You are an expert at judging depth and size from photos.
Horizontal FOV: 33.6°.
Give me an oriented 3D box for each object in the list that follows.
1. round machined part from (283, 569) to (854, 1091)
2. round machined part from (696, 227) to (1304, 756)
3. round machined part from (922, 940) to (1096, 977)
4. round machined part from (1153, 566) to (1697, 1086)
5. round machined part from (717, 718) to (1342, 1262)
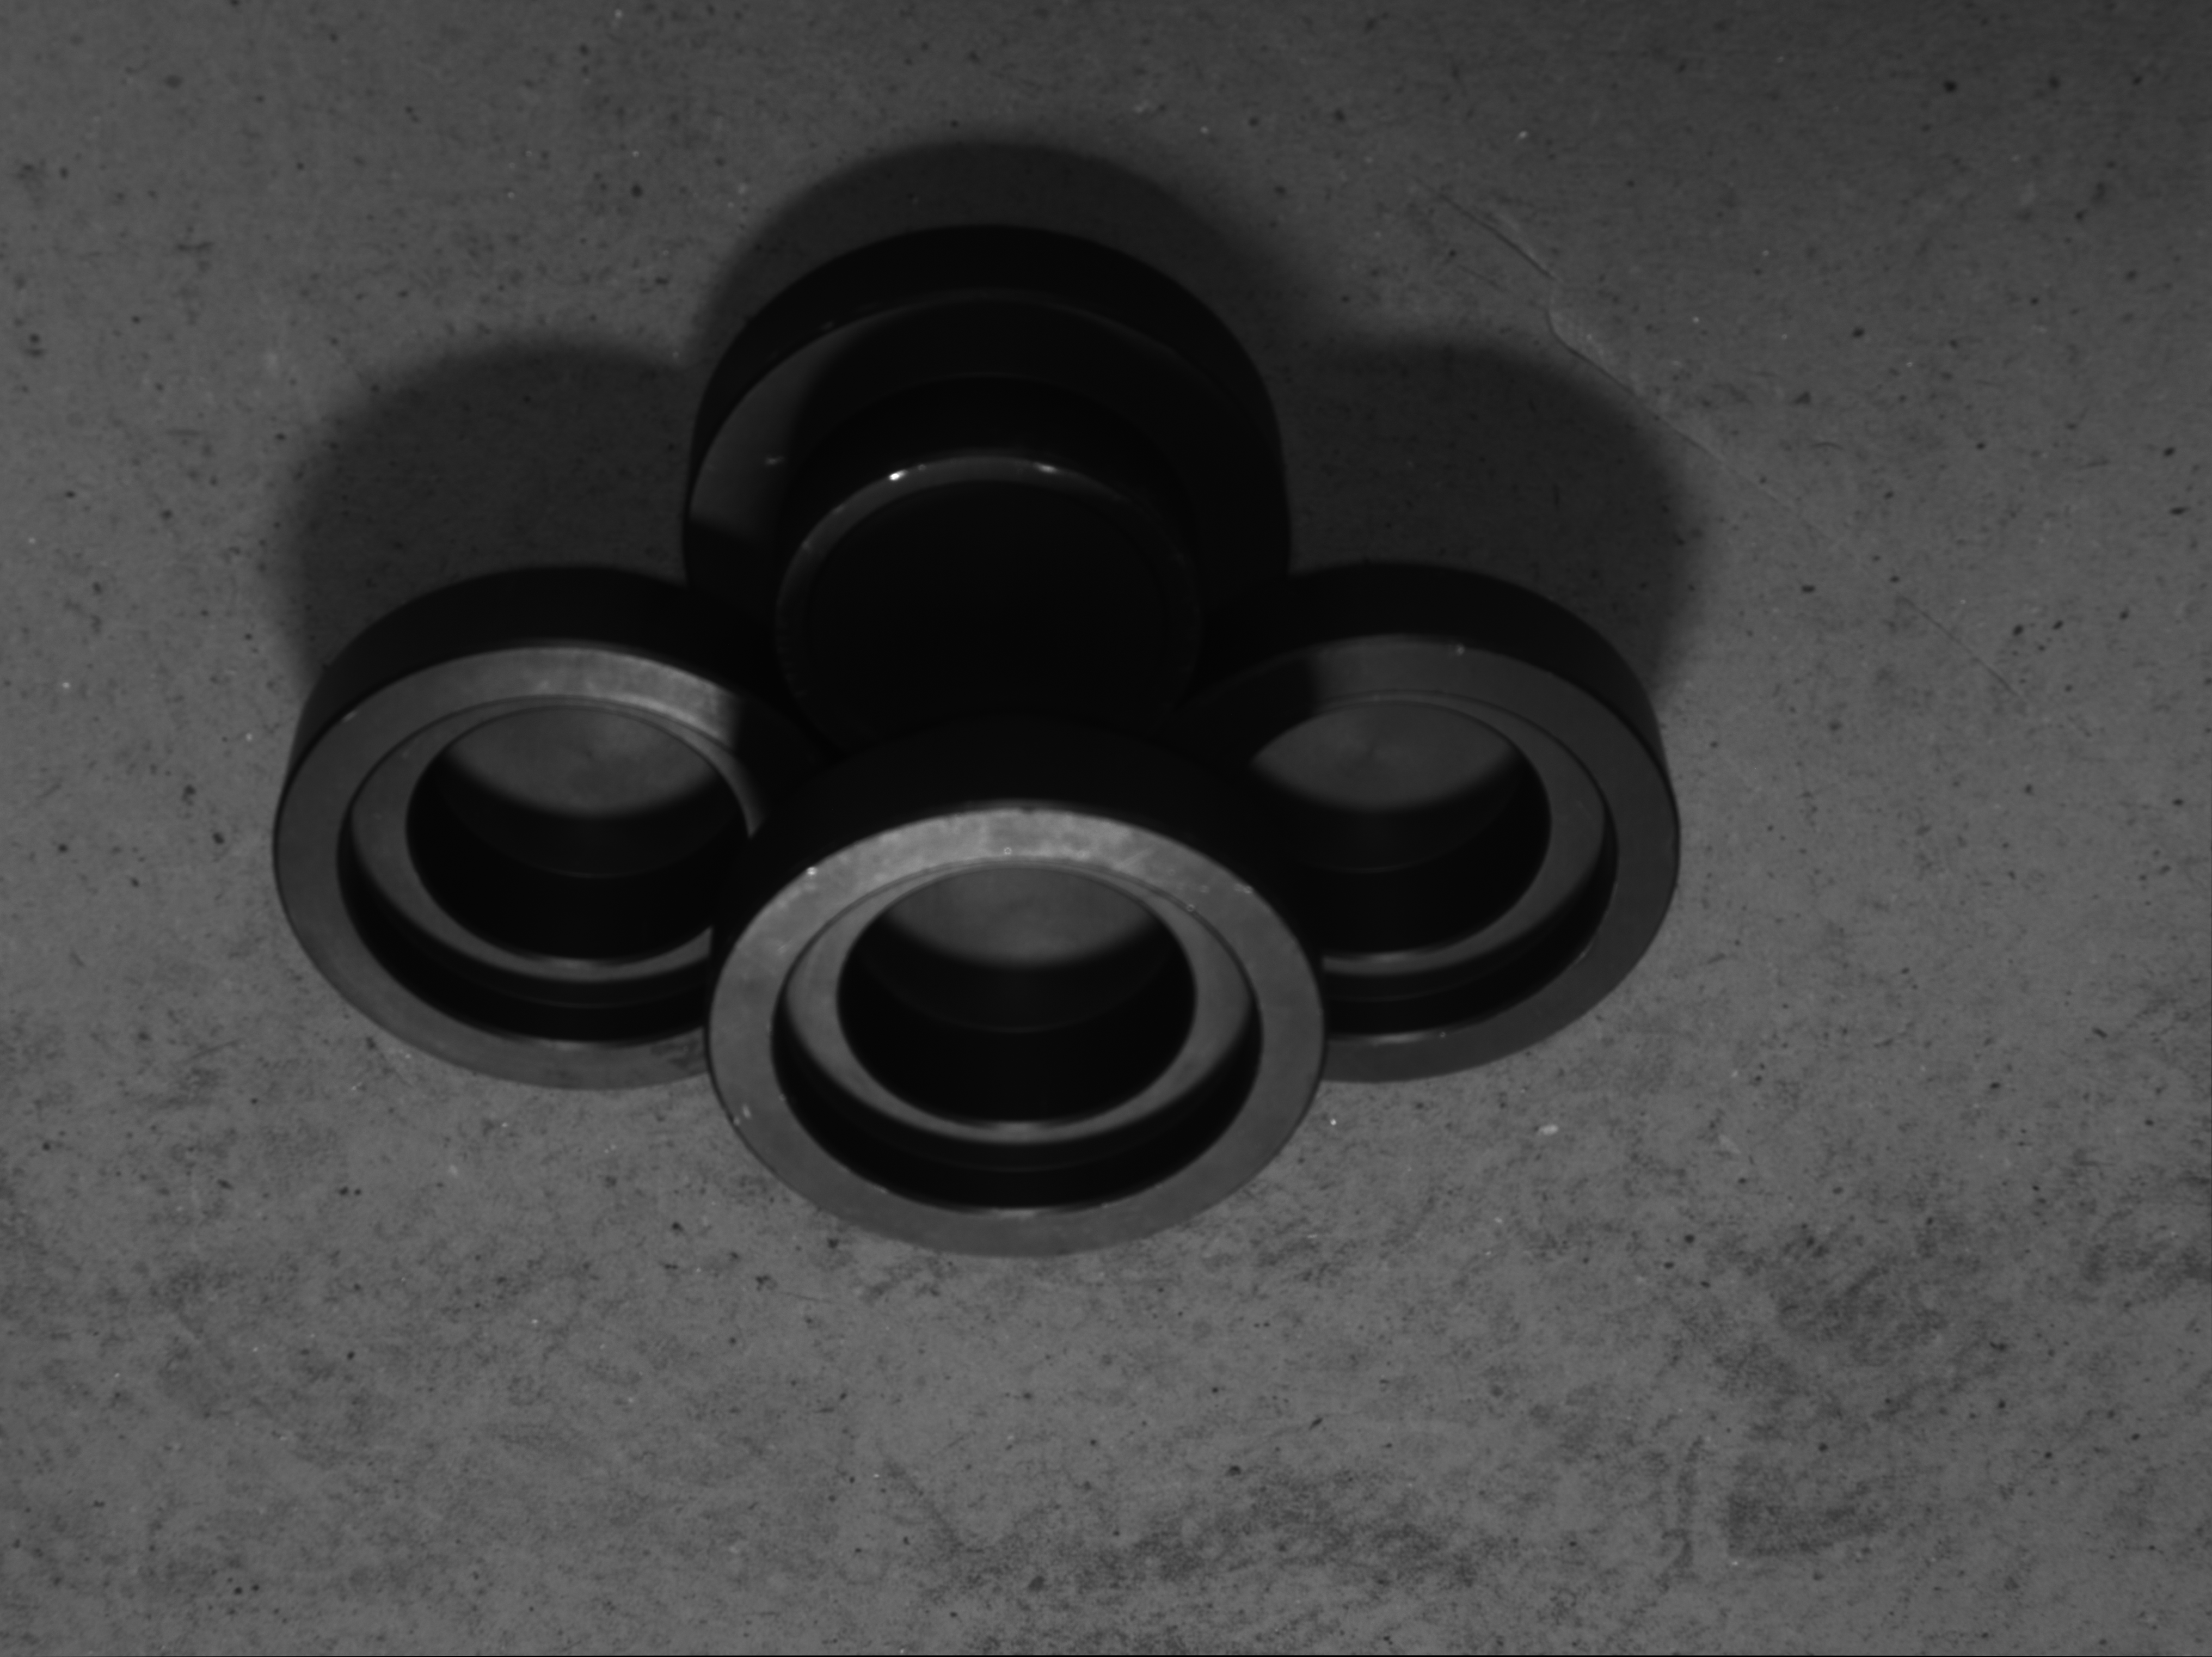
[{"bbox_3d":[-0.087,-0.005,0.620,0.098,0.042,0.098,-1,130,-1],"label":"round machined part"},{"bbox_3d":[-0.017,-0.044,0.590,0.098,0.042,0.098,-1,130,-1],"label":"round machined part"},{"bbox_3d":[-0.019,0.032,0.654,0.098,0.042,0.098,-1,130,-1],"label":"round machined part"},{"bbox_3d":[0.049,-0.005,0.624,0.098,0.042,0.098,-1,130,-1],"label":"round machined part"},{"bbox_3d":[-0.012,0.021,0.590,0.098,0.042,0.098,-1,130,-1],"label":"round machined part"}]
